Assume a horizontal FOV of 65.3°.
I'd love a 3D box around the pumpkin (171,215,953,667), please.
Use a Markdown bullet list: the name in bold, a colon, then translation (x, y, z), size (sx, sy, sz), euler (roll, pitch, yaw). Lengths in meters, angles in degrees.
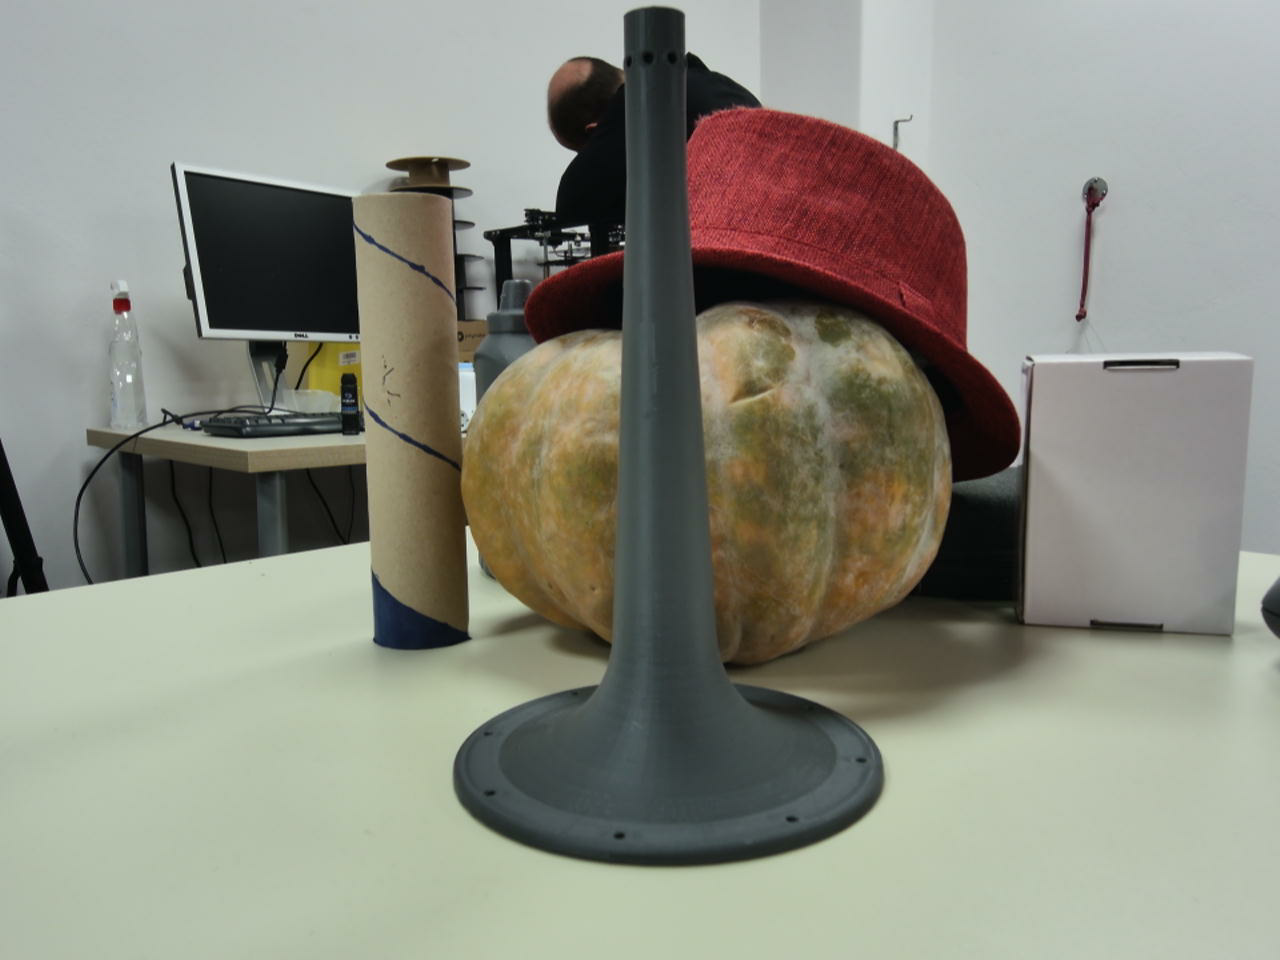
- **pumpkin**: translation (0.035, -0.002, 0.511), size (0.252, 0.168, 0.252), euler (0, 5, 0)
